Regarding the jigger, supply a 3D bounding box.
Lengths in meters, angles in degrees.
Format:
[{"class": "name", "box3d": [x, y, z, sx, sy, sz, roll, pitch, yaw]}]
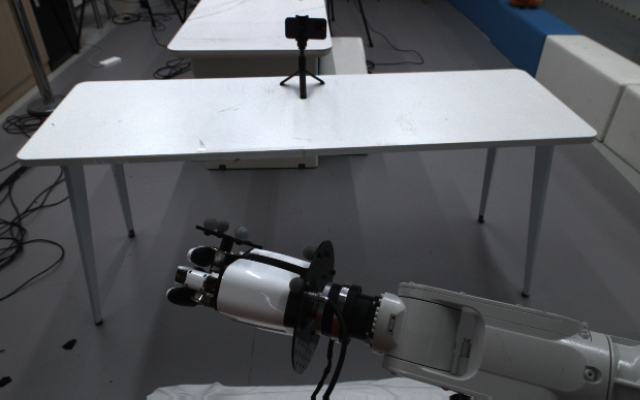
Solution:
[{"class": "jigger", "box3d": [-0.129, 0.096, 0.606, 0.043, 0.071, 0.043, 19, -6, 2]}]
